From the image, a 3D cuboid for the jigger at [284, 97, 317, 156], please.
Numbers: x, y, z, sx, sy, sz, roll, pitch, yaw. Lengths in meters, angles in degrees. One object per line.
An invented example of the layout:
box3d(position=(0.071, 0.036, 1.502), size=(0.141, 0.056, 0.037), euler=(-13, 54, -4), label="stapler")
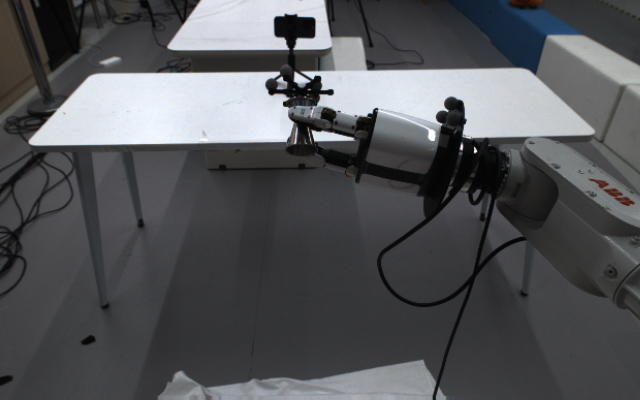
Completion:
box3d(position=(-0.024, -0.098, 0.640), size=(0.043, 0.043, 0.071), euler=(0, 75, -3), label="jigger")
